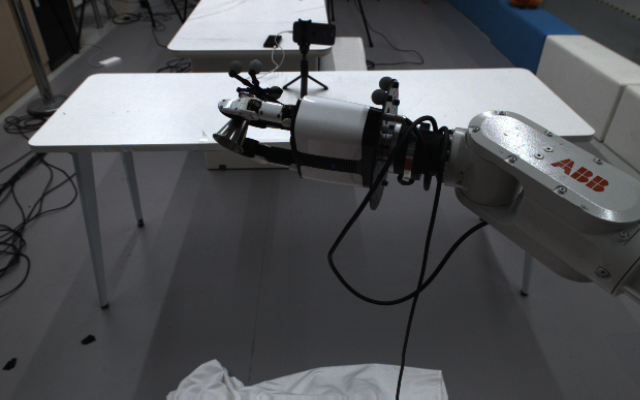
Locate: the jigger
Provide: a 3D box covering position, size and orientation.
[{"bbox_3d":[-0.104,-0.103,0.624,0.043,0.043,0.071,20,74,24],"label":"jigger"}]
